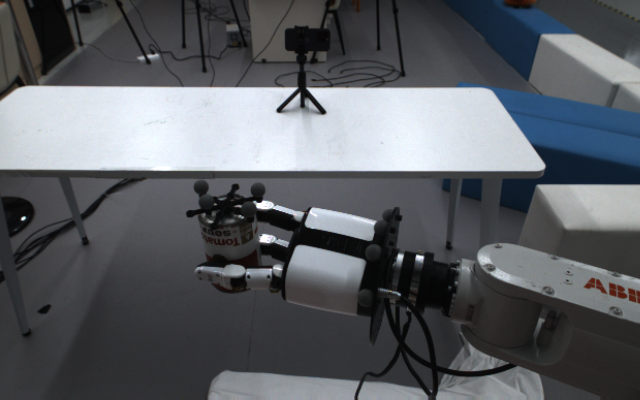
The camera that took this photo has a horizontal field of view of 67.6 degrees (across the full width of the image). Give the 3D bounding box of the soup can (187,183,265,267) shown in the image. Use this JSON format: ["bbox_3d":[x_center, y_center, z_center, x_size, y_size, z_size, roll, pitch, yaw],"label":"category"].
[{"bbox_3d":[-0.104,0.052,0.585,0.067,0.101,0.067,-2,34,1],"label":"soup can"}]
